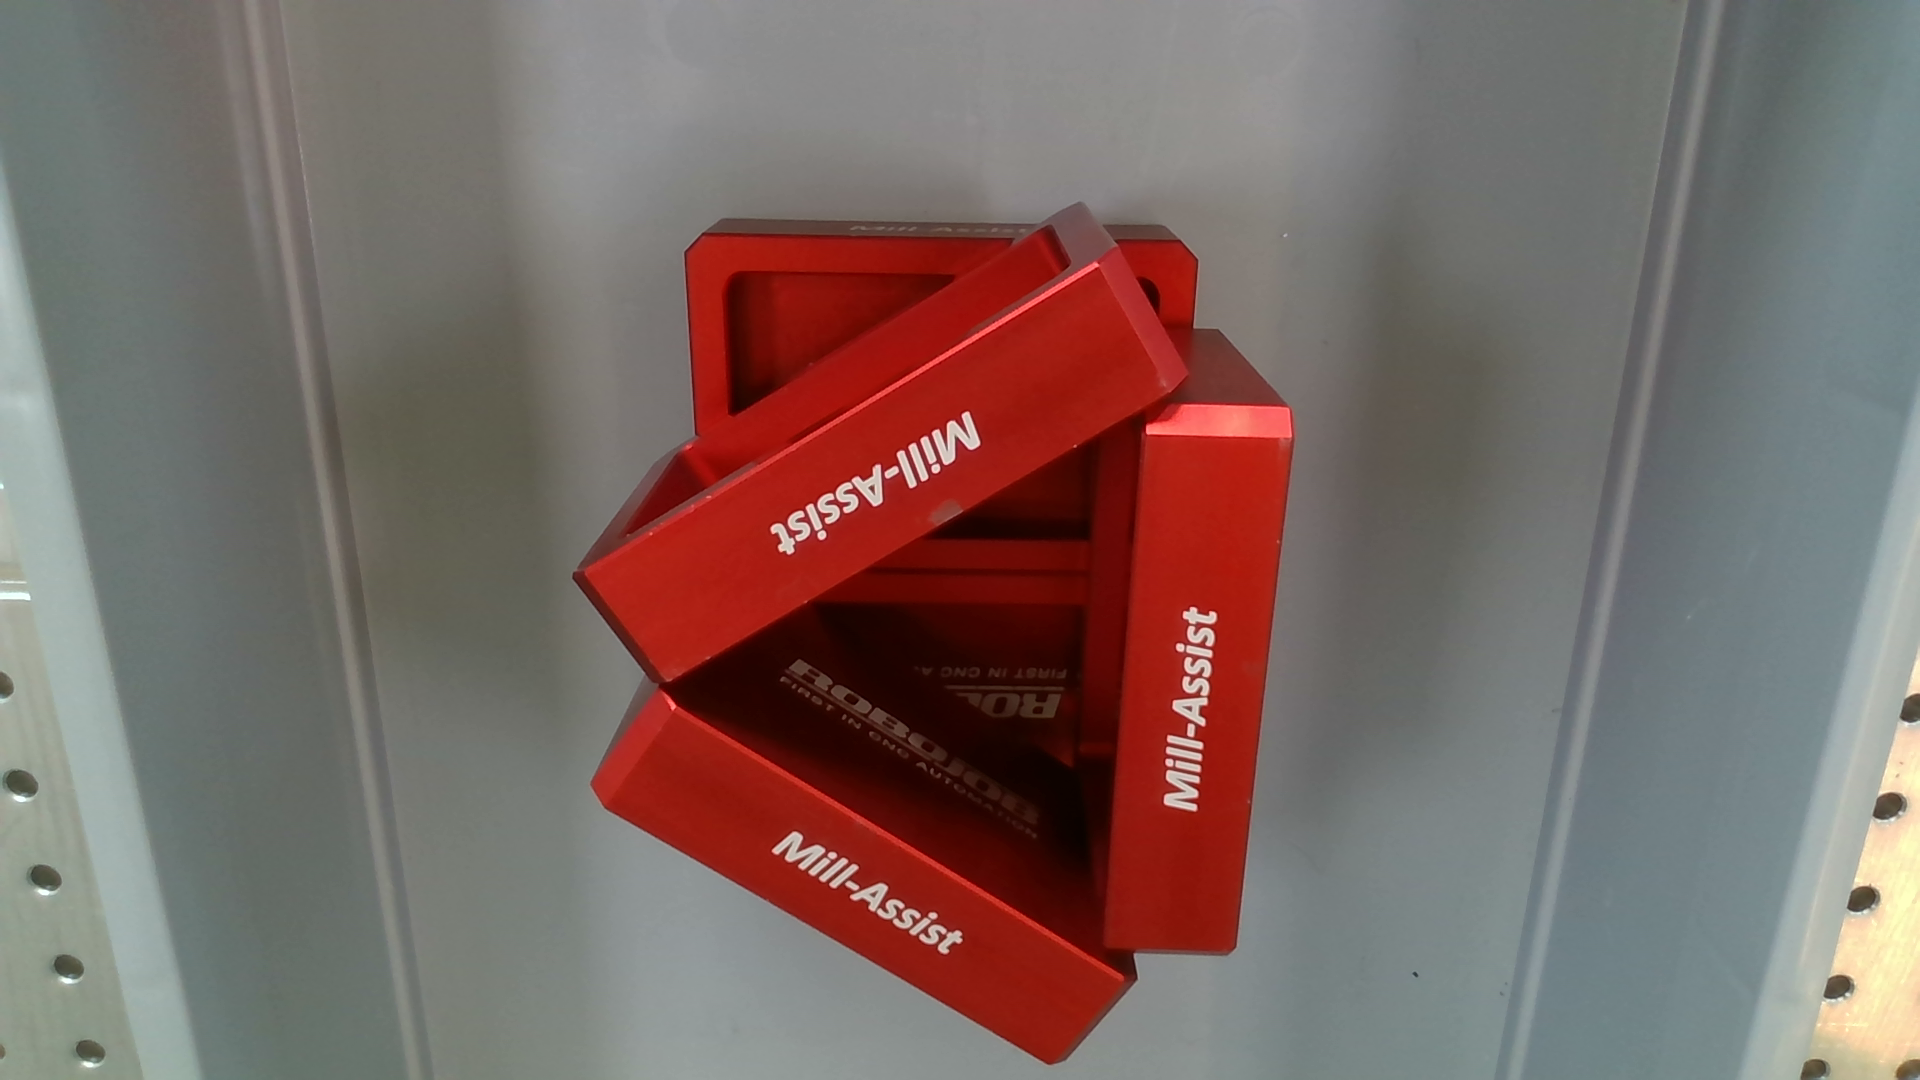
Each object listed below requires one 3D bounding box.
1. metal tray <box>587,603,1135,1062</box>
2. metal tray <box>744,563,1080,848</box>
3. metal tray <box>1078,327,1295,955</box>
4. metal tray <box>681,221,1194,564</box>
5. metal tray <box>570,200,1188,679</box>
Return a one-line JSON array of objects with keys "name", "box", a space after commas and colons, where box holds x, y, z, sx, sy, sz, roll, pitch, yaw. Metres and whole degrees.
[{"name": "metal tray", "box": [-0.020, 0.064, 0.348, 0.130, 0.090, 0.030, 34, 106, -11]}, {"name": "metal tray", "box": [-0.008, 0.046, 0.407, 0.130, 0.030, 0.090, 1, 110, -1]}, {"name": "metal tray", "box": [0.049, 0.021, 0.332, 0.030, 0.090, 0.130, 2, 110, 0]}, {"name": "metal tray", "box": [-0.006, -0.041, 0.376, 0.130, 0.030, 0.090, 0, 110, -1]}, {"name": "metal tray", "box": [-0.018, -0.027, 0.315, 0.130, 0.090, 0.030, -30, 107, 10]}]
